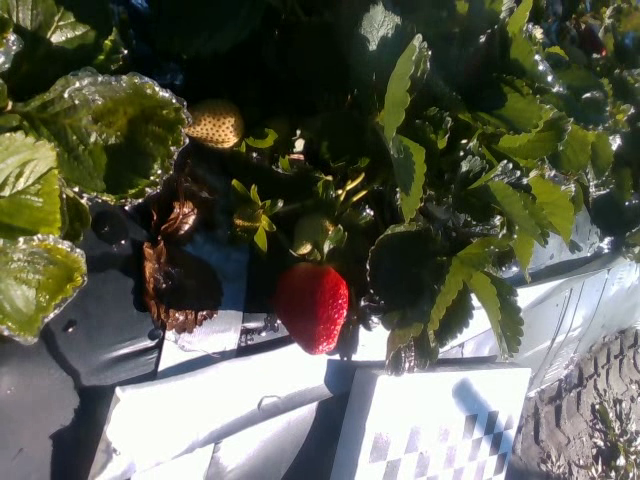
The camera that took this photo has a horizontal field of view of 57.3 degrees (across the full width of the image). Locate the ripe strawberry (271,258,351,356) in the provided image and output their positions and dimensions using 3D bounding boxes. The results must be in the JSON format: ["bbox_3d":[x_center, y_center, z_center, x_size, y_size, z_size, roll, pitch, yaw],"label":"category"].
[{"bbox_3d":[-0.002,0.053,0.379,0.058,0.065,0.061,-21,-47,11],"label":"ripe strawberry"}]
